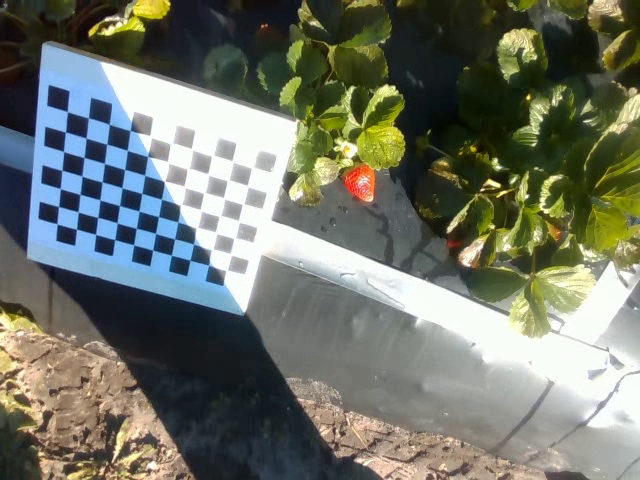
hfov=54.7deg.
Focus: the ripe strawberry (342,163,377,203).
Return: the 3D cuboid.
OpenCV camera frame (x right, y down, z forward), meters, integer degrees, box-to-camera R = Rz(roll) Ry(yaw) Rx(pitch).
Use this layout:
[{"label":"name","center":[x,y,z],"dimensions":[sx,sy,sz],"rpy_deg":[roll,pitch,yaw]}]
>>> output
[{"label":"ripe strawberry","center":[0.053,-0.070,0.779],"dimensions":[0.048,0.055,0.030],"rpy_deg":[-25,22,16]}]
